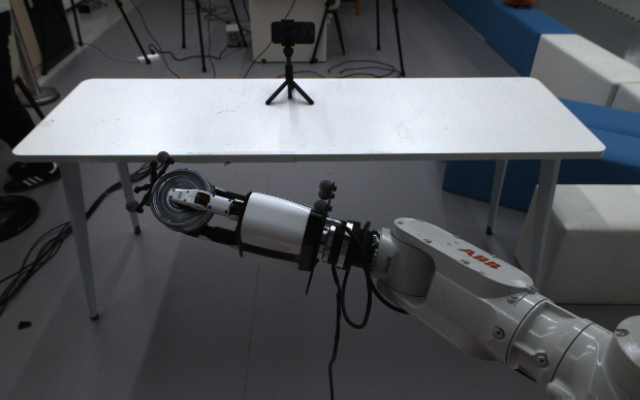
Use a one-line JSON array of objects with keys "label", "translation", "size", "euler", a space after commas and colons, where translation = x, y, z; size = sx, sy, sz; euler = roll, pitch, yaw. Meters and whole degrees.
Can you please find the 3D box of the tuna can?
[{"label": "tuna can", "translation": [-0.187, -0.001, 0.669], "size": [0.085, 0.034, 0.085], "euler": [0, 76, -1]}]
